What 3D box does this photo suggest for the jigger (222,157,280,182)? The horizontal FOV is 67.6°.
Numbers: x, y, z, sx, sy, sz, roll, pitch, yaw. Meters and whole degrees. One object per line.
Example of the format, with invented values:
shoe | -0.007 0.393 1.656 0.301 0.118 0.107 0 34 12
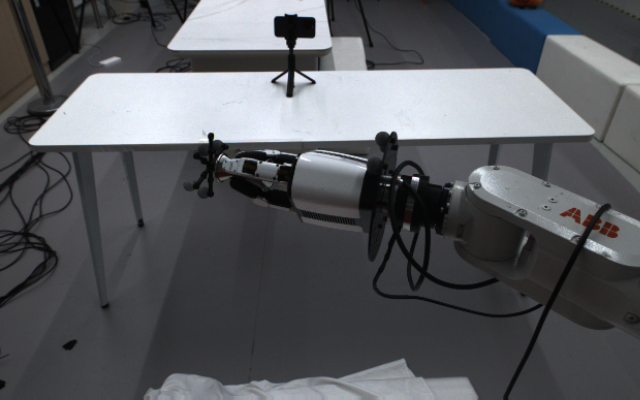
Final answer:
jigger | -0.093 -0.042 0.635 0.071 0.043 0.043 10 35 16
